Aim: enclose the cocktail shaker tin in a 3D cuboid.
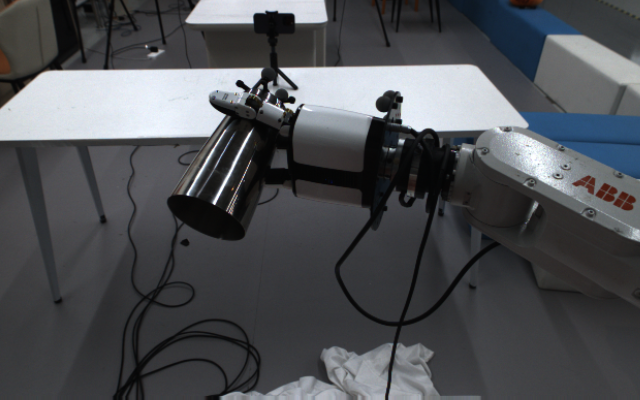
[{"bbox_3d":[-0.098,-0.051,0.570,0.093,0.093,0.170,13,59,15],"label":"cocktail shaker tin"}]
